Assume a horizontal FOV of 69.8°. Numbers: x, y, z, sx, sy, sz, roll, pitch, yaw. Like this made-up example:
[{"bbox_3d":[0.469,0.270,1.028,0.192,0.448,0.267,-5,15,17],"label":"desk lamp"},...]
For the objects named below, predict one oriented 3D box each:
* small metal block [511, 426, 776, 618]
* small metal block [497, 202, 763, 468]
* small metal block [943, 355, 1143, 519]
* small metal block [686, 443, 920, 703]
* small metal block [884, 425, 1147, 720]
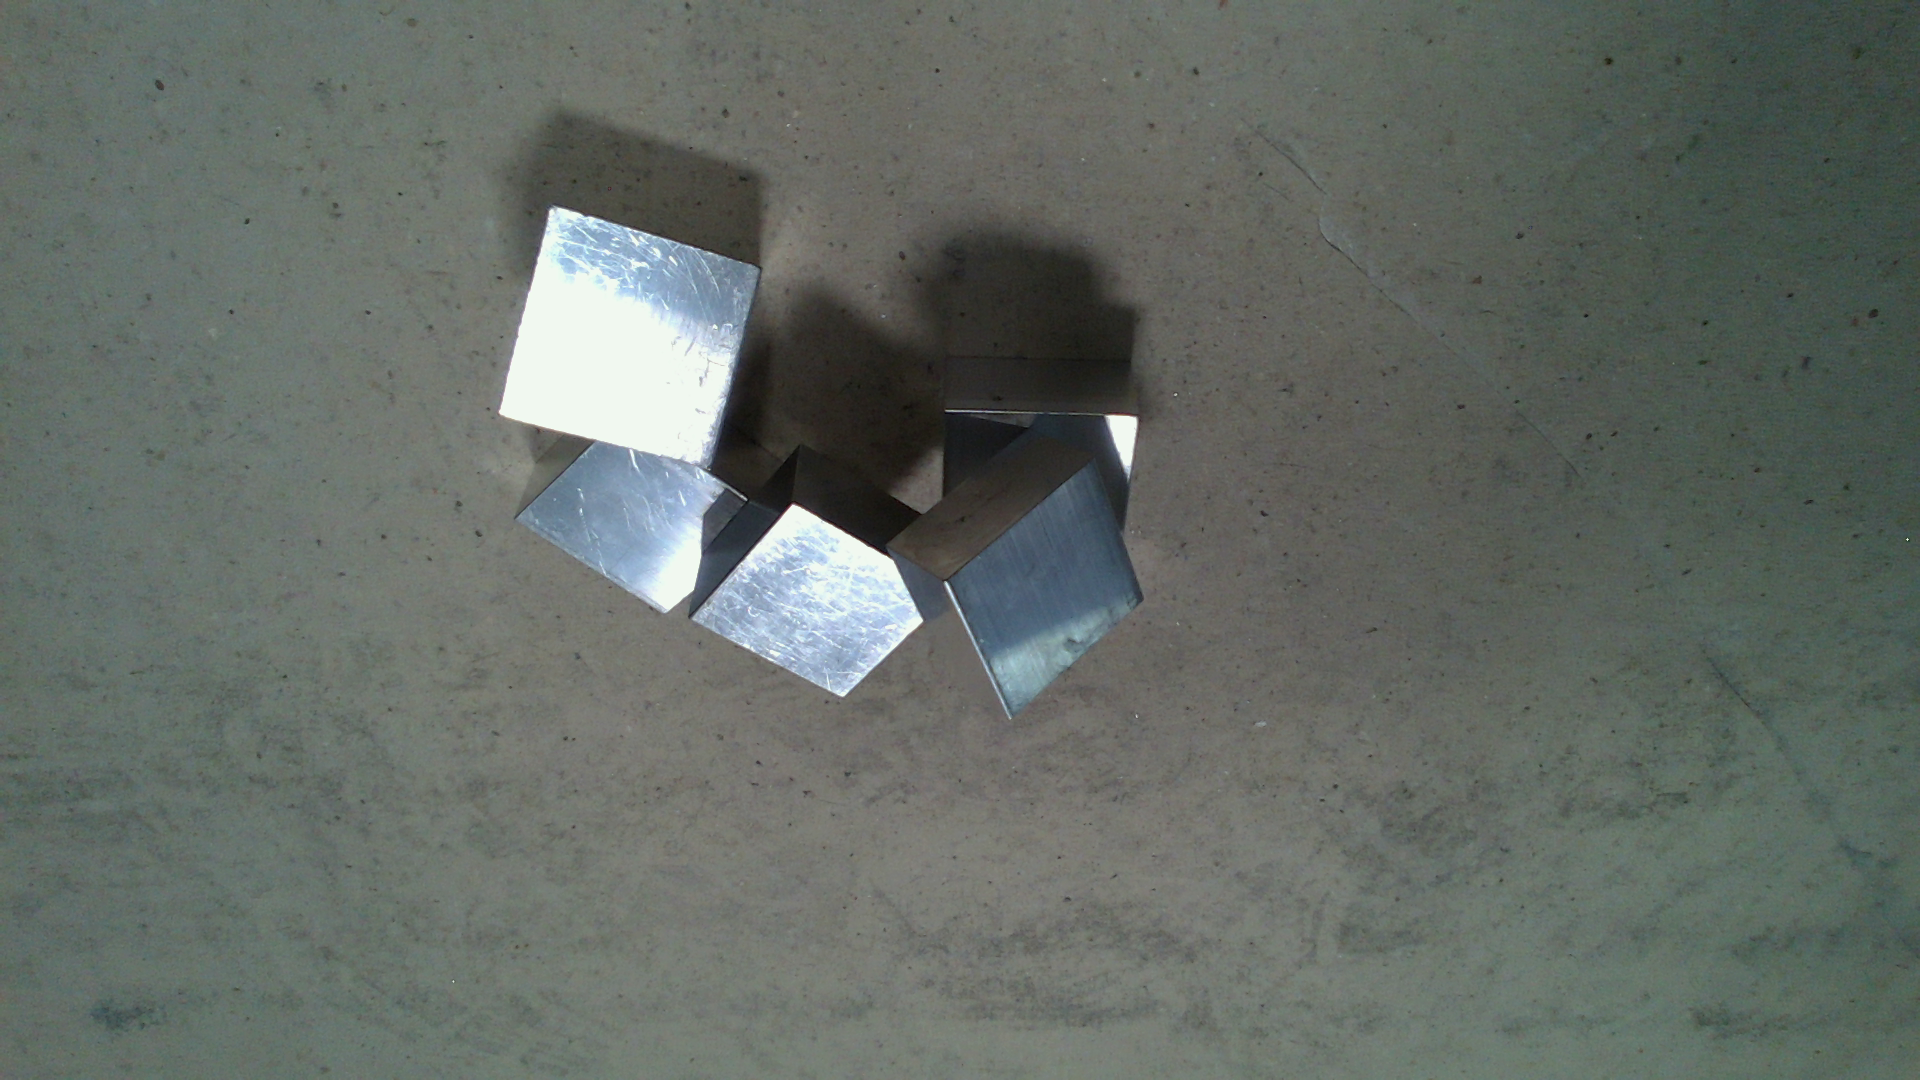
[{"bbox_3d":[-0.085,-0.013,0.379,0.050,0.025,0.050,-37,121,27],"label":"small metal block"},{"bbox_3d":[-0.079,-0.048,0.334,0.050,0.025,0.050,14,92,-12],"label":"small metal block"},{"bbox_3d":[0.020,-0.022,0.373,0.050,0.025,0.050,1,130,-1],"label":"small metal block"},{"bbox_3d":[-0.036,0.010,0.365,0.050,0.025,0.050,30,124,-23],"label":"small metal block"},{"bbox_3d":[0.015,0.008,0.349,0.050,0.025,0.050,-40,130,-19],"label":"small metal block"}]
